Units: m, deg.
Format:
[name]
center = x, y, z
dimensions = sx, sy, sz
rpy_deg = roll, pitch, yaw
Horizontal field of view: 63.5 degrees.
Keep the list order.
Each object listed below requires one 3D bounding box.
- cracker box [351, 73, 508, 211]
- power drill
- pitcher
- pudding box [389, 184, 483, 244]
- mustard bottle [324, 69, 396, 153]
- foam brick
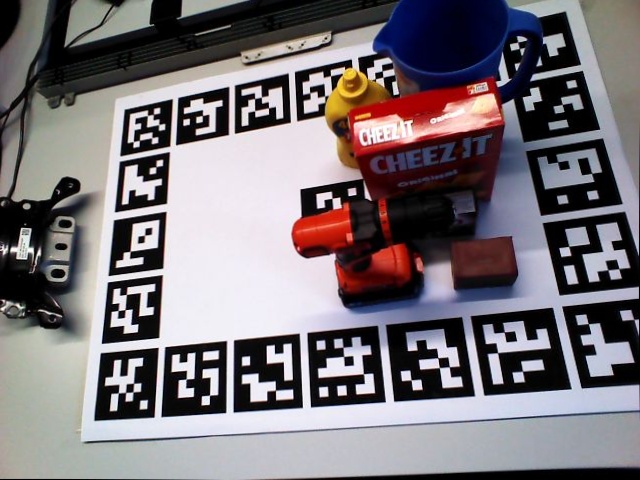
[cracker box]
center = 0.145, -0.095, 0.645
dimensions = 0.165, 0.213, 0.071
rpy_deg = -11, 67, 15
[power drill]
center = 0.079, 0.013, 0.610
dimensions = 0.185, 0.187, 0.057
rpy_deg = -9, 66, 12
[pitcher]
center = 0.183, -0.199, 0.663
dimensions = 0.190, 0.242, 0.132
rpy_deg = -3, 71, 17
[pudding box]
center = 0.154, -0.031, 0.679
dimensions = 0.114, 0.090, 0.038
rpy_deg = -8, 68, 16
[mustard bottle]
center = 0.057, -0.176, 0.704
dimensions = 0.097, 0.191, 0.058
rpy_deg = 5, 74, 17
[foam brick]
center = 0.221, 0.031, 0.674
dimensions = 0.078, 0.051, 0.052
rpy_deg = -6, 72, 14
